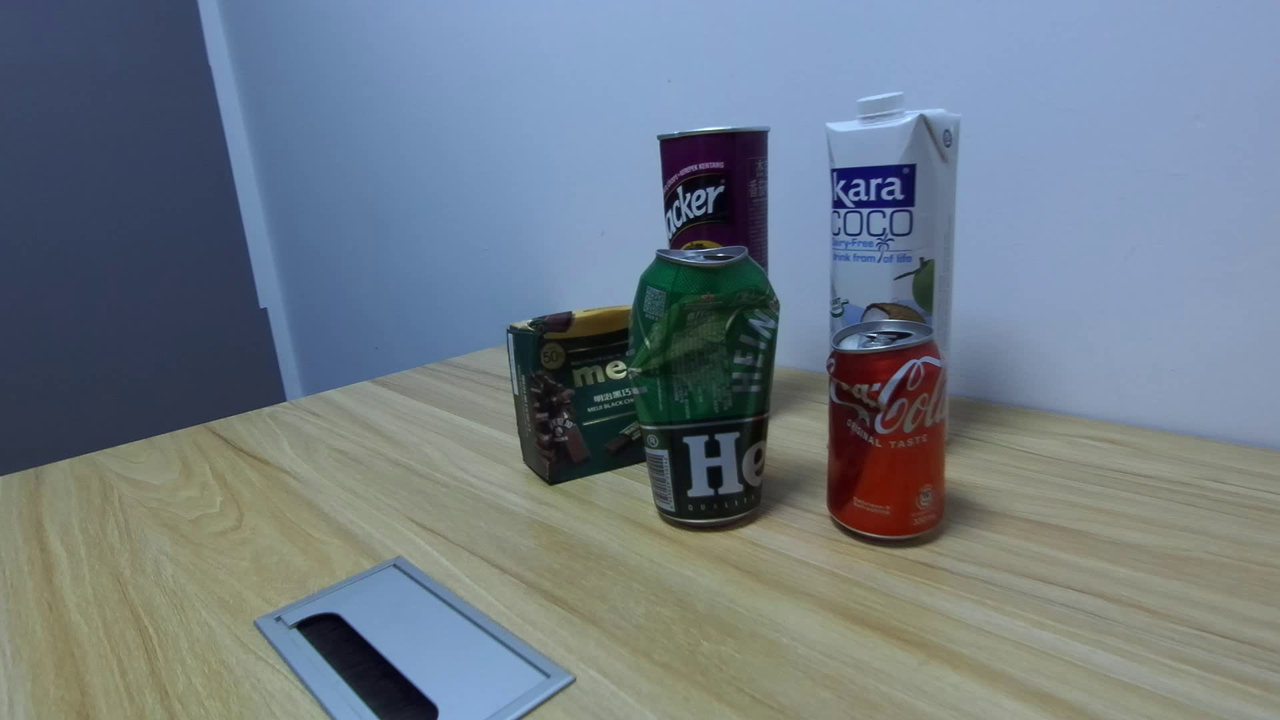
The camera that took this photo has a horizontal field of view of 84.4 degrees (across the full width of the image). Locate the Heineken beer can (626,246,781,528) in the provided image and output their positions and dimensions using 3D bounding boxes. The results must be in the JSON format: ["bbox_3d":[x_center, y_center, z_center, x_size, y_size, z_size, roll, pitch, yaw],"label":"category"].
[{"bbox_3d":[0.036,0.017,0.425,0.077,0.164,0.066,9,20,31],"label":"Heineken beer can"}]

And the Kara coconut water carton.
[{"bbox_3d":[0.174,-0.055,0.493,0.075,0.245,0.076,-17,18,-42],"label":"Kara coconut water carton"}]

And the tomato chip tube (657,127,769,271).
[{"bbox_3d":[0.064,-0.064,0.577,0.077,0.234,0.080,-10,14,-27],"label":"tomato chip tube"}]

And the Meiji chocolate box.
[{"bbox_3d":[-0.038,0.025,0.539,0.113,0.110,0.058,-10,11,-27],"label":"Meiji chocolate box"}]

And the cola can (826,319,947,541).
[{"bbox_3d":[0.141,0.040,0.401,0.065,0.117,0.072,-3,15,-1],"label":"cola can"}]
